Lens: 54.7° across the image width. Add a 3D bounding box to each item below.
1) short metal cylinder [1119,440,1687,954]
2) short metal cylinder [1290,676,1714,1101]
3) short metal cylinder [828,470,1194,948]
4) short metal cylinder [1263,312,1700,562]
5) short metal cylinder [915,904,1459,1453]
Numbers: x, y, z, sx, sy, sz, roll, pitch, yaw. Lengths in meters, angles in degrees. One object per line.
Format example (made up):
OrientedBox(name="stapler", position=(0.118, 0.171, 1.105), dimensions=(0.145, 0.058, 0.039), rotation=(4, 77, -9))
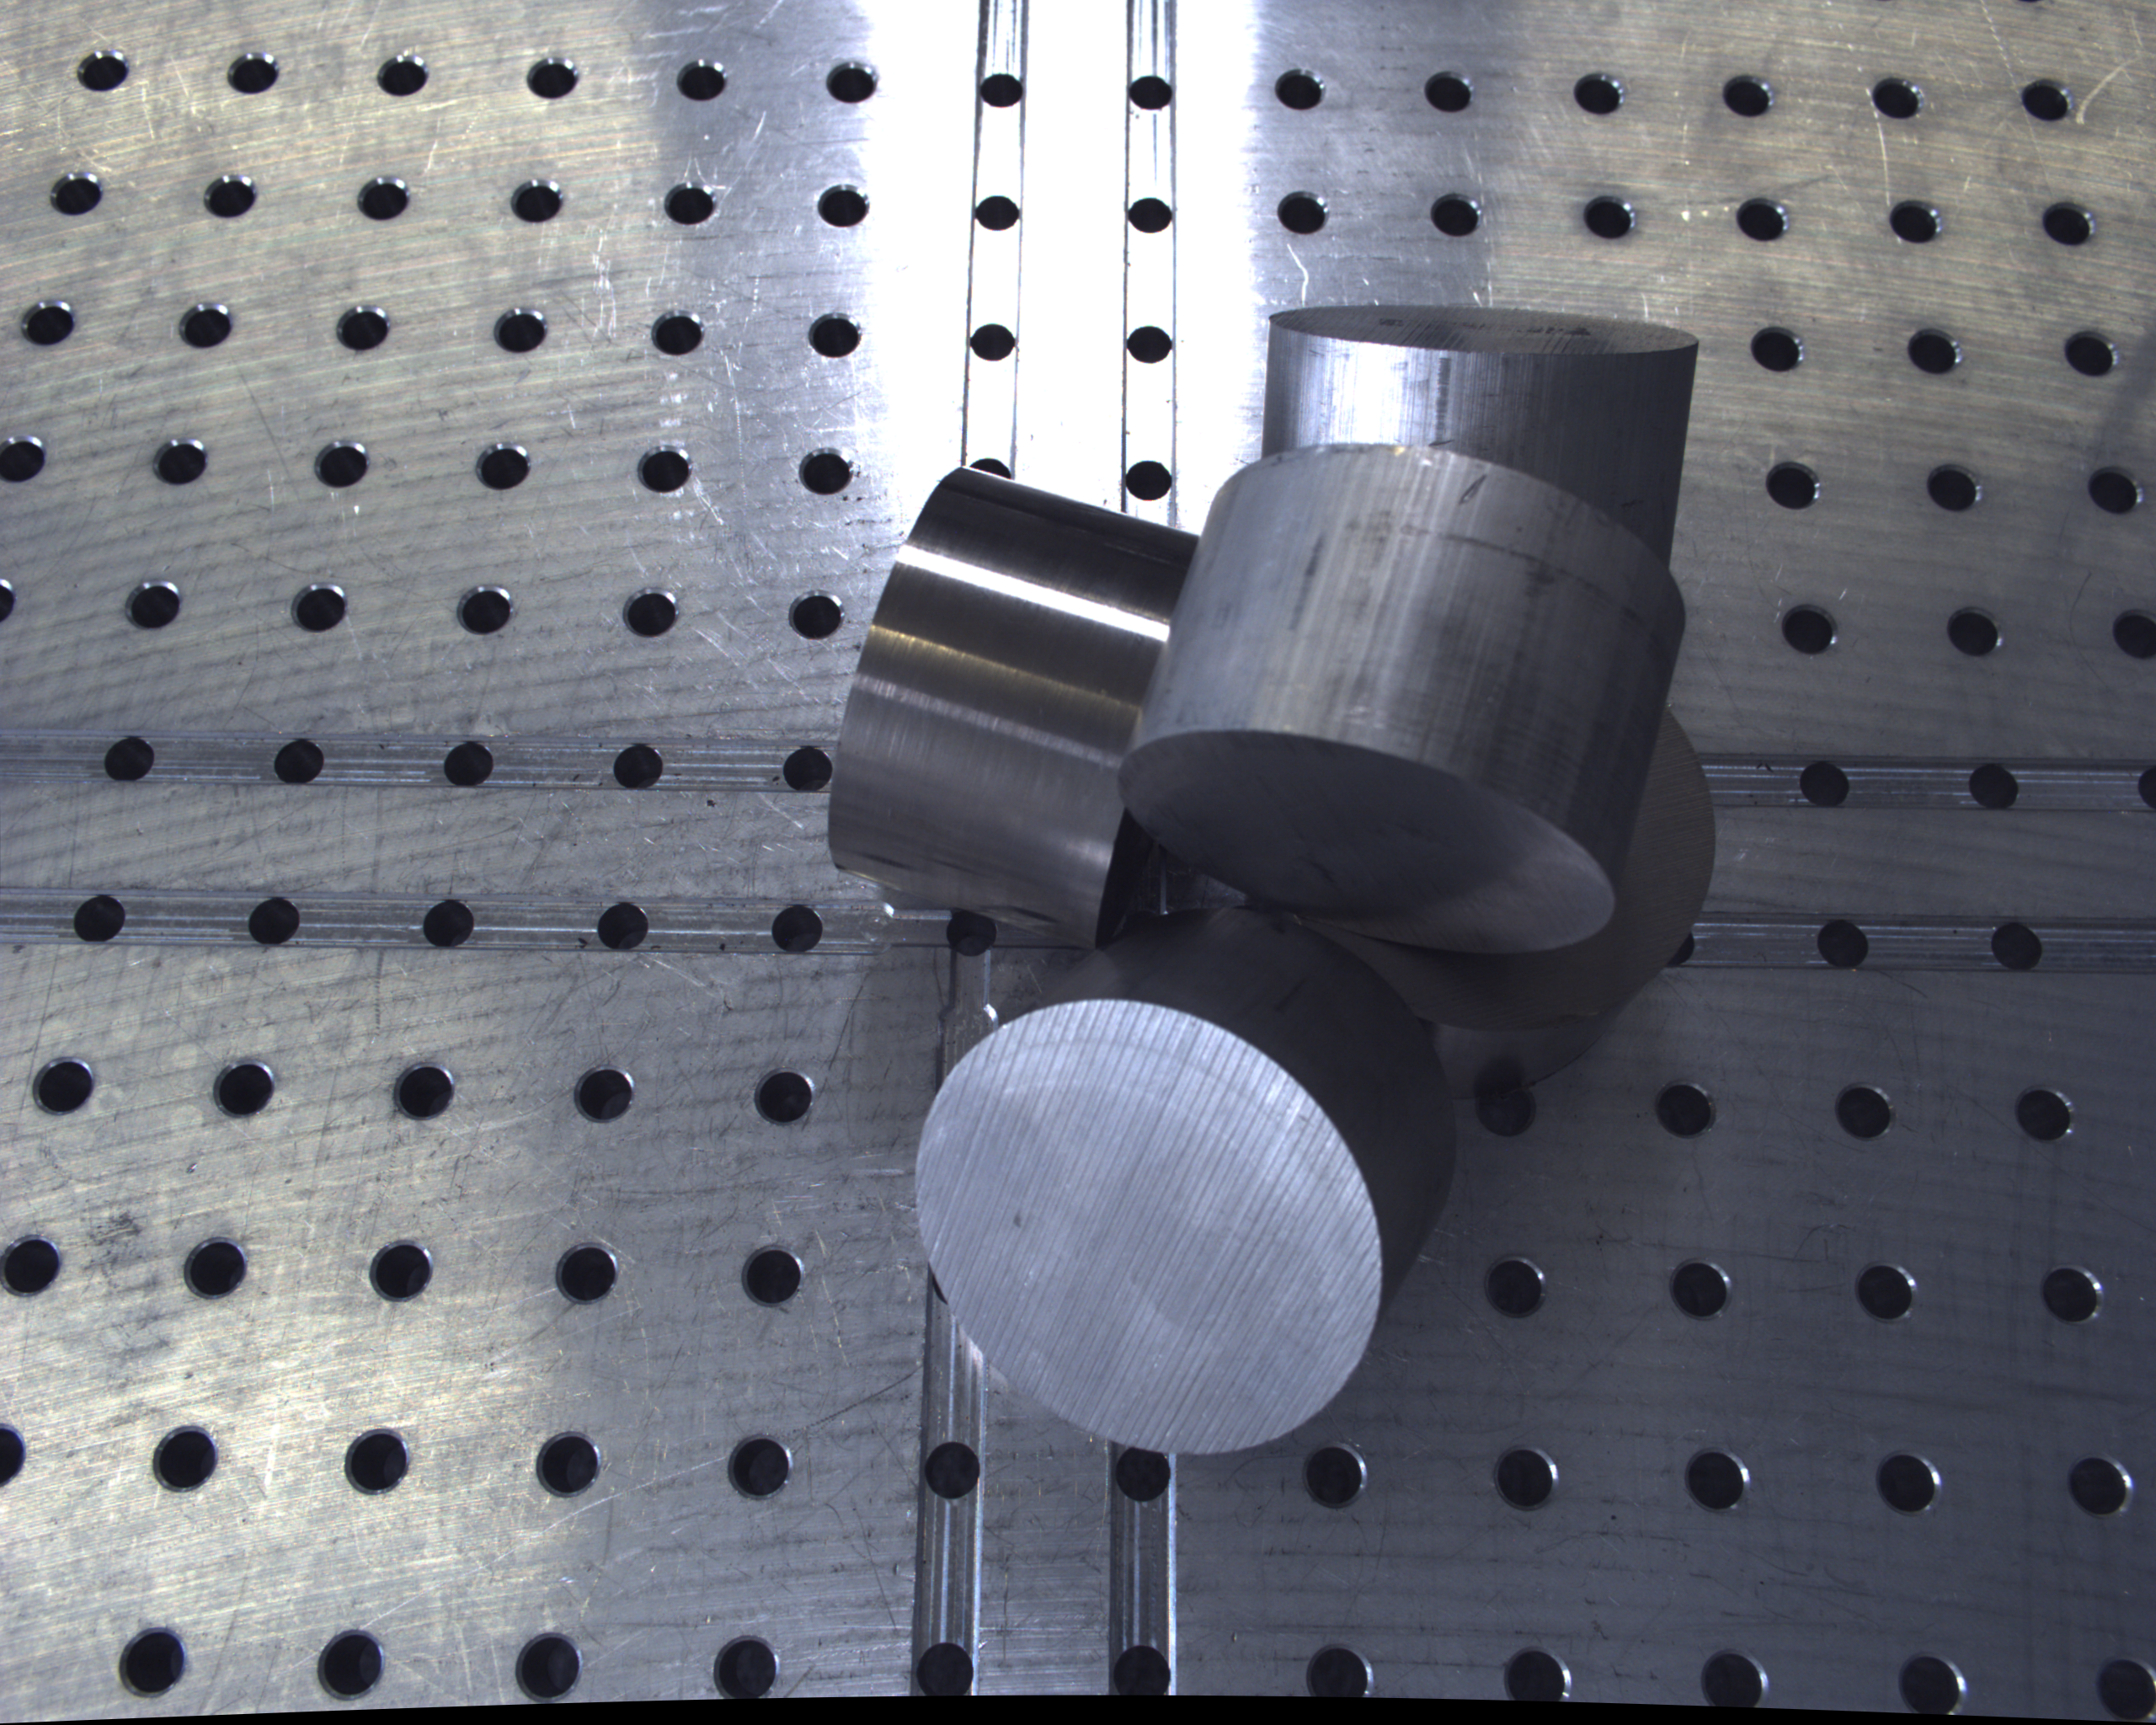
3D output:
OrientedBox(name="short metal cylinder", position=(0.053, -0.024, 0.338), dimensions=(0.080, 0.080, 0.050), rotation=(16, 71, 6))
OrientedBox(name="short metal cylinder", position=(0.074, 0.001, 0.398), dimensions=(0.081, 0.050, 0.080), rotation=(0, 69, 0))
OrientedBox(name="short metal cylinder", position=(-0.008, -0.029, 0.393), dimensions=(0.050, 0.080, 0.080), rotation=(18, 71, 6))
OrientedBox(name="short metal cylinder", position=(0.076, -0.078, 0.404), dimensions=(0.080, 0.080, 0.050), rotation=(2, 110, 1))
OrientedBox(name="short metal cylinder", position=(0.020, 0.052, 0.357), dimensions=(0.080, 0.050, 0.079), rotation=(7, 108, 22))
